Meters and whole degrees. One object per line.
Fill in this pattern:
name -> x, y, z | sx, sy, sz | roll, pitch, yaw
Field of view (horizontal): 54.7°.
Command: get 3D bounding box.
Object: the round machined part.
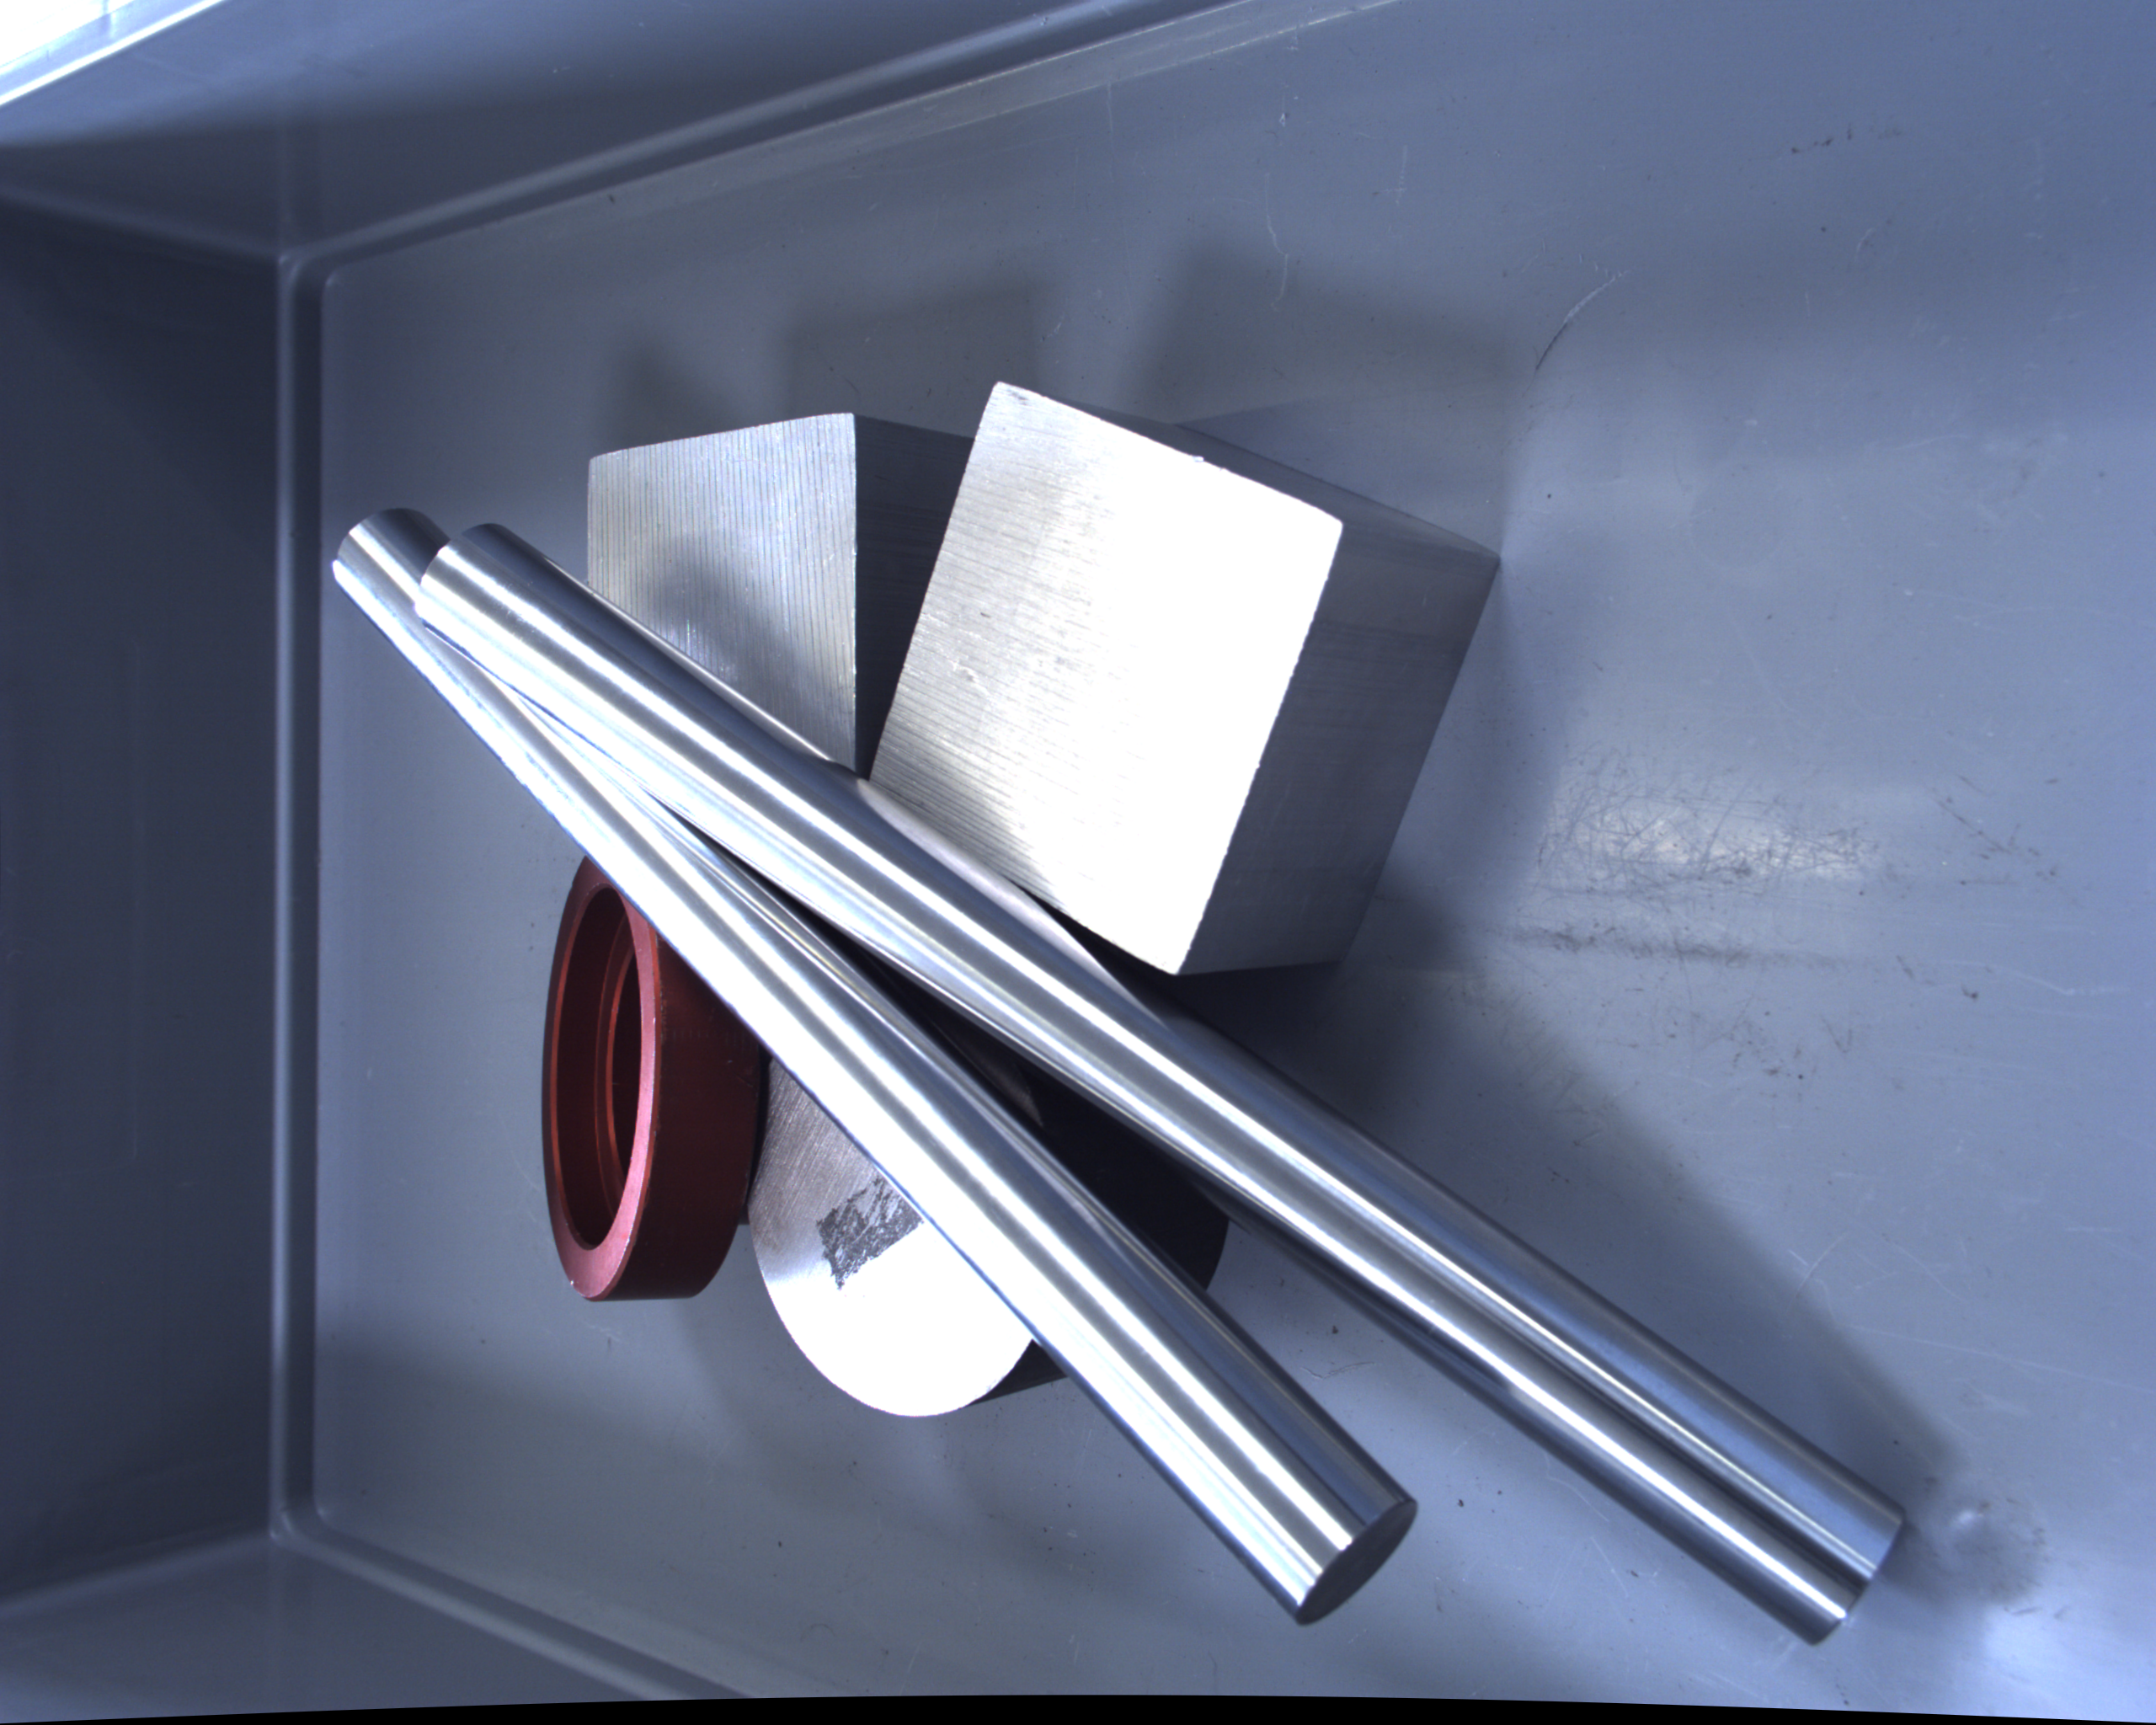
round machined part -> -0.083, 0.044, 0.447 | 0.098, 0.042, 0.097 | -13, 75, 62

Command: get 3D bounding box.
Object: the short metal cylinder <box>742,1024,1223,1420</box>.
short metal cylinder -> -0.019, 0.062, 0.402 | 0.080, 0.050, 0.079 | 0, 90, 40

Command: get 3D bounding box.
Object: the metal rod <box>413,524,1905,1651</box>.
metal rod -> -0.002, 0.026, 0.357 | 0.300, 0.025, 0.025 | 34, 112, 19

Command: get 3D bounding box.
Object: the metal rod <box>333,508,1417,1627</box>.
metal rod -> -0.056, 0.018, 0.383 | 0.300, 0.025, 0.025 | 41, 115, 31

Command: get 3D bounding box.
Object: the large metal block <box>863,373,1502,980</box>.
large metal block -> 0.016, -0.034, 0.374 | 0.080, 0.050, 0.079 | 31, 109, 35

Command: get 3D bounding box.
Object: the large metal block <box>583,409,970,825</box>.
large metal block -> -0.057, -0.045, 0.431 | 0.080, 0.050, 0.079 | 1, 91, 40
